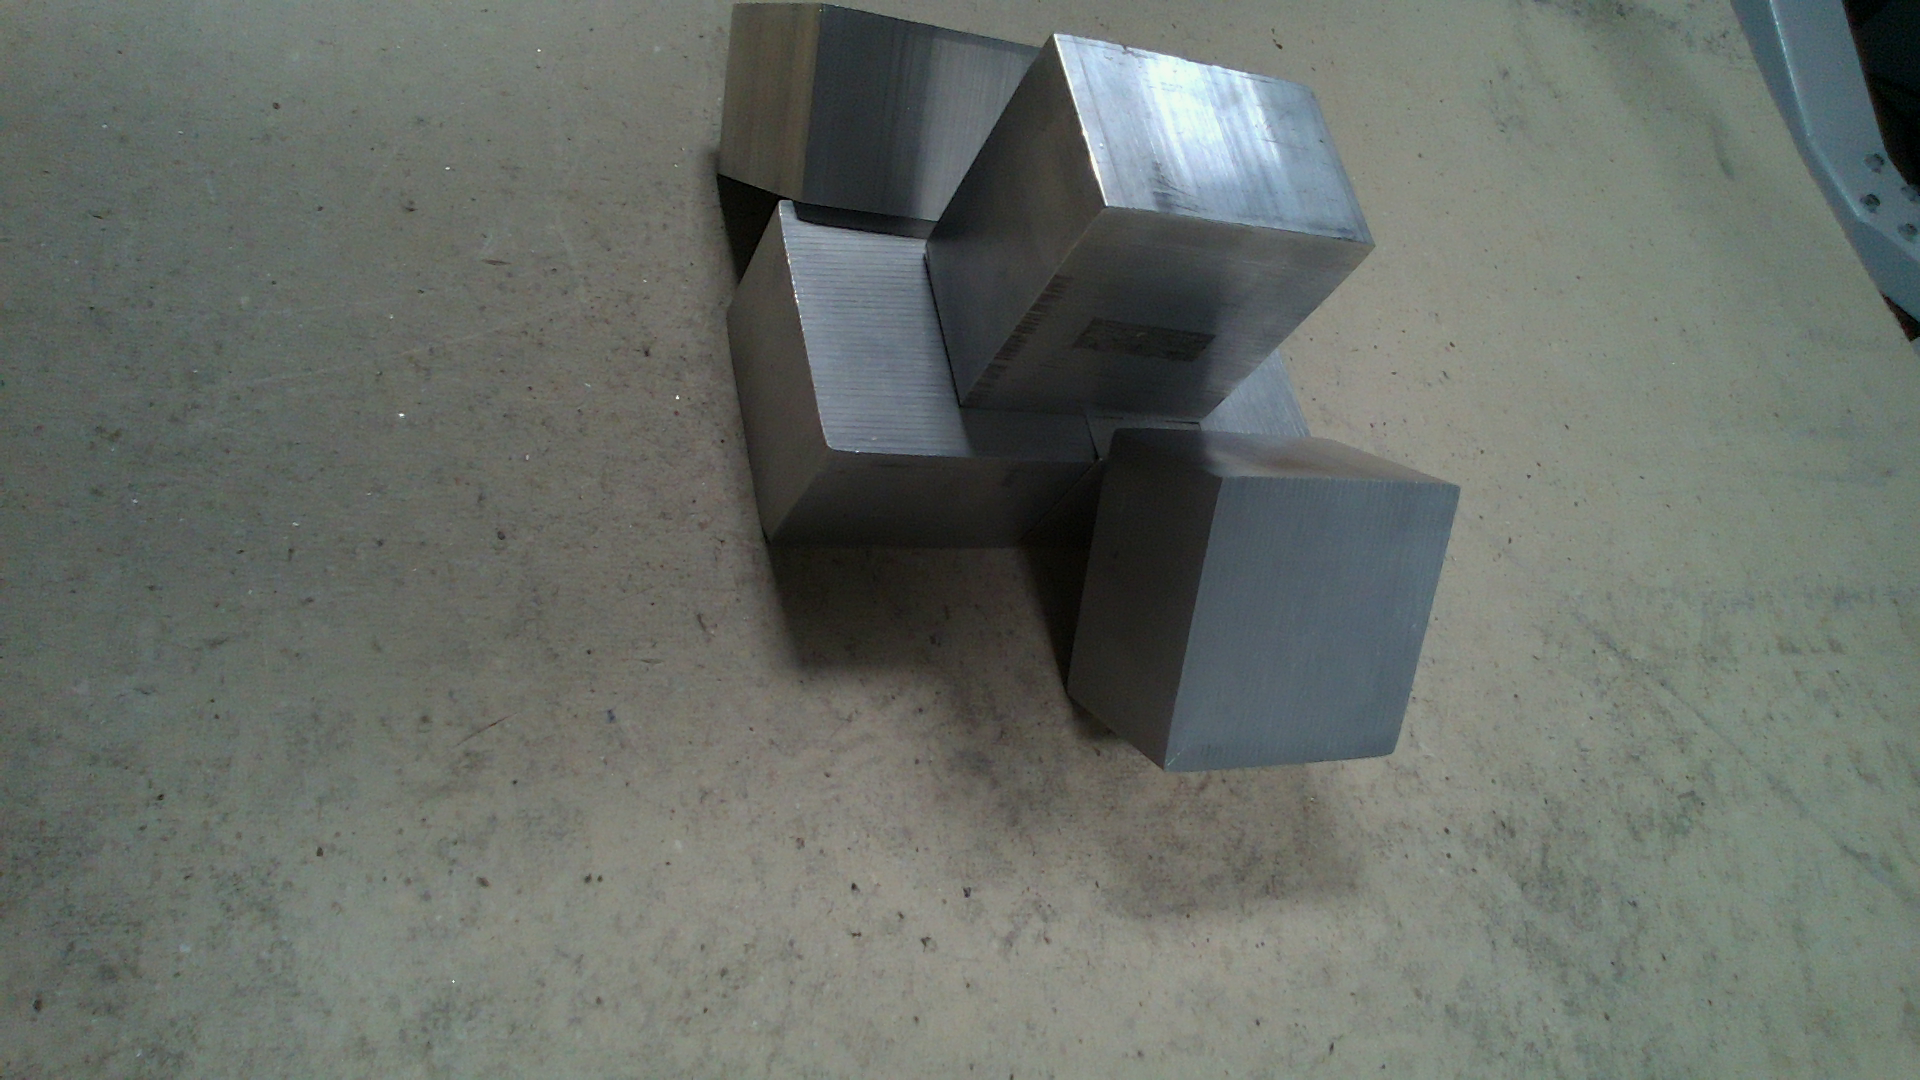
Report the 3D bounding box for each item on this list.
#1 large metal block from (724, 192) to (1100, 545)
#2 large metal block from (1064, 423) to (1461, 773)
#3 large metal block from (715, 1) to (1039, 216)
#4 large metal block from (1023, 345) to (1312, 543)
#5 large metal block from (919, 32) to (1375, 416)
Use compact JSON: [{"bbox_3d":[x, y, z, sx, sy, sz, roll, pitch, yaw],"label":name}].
[{"bbox_3d":[-0.016,-0.046,0.391,0.080,0.050,0.080,1,61,-28],"label":"large metal block"},{"bbox_3d":[0.082,0.014,0.382,0.080,0.080,0.050,1,17,-28],"label":"large metal block"},{"bbox_3d":[-0.022,-0.127,0.413,0.080,0.050,0.080,0,18,-27],"label":"large metal block"},{"bbox_3d":[0.055,-0.046,0.429,0.080,0.050,0.080,1,61,-28],"label":"large metal block"},{"bbox_3d":[0.045,-0.078,0.362,0.080,0.080,0.050,1,61,-28],"label":"large metal block"}]
